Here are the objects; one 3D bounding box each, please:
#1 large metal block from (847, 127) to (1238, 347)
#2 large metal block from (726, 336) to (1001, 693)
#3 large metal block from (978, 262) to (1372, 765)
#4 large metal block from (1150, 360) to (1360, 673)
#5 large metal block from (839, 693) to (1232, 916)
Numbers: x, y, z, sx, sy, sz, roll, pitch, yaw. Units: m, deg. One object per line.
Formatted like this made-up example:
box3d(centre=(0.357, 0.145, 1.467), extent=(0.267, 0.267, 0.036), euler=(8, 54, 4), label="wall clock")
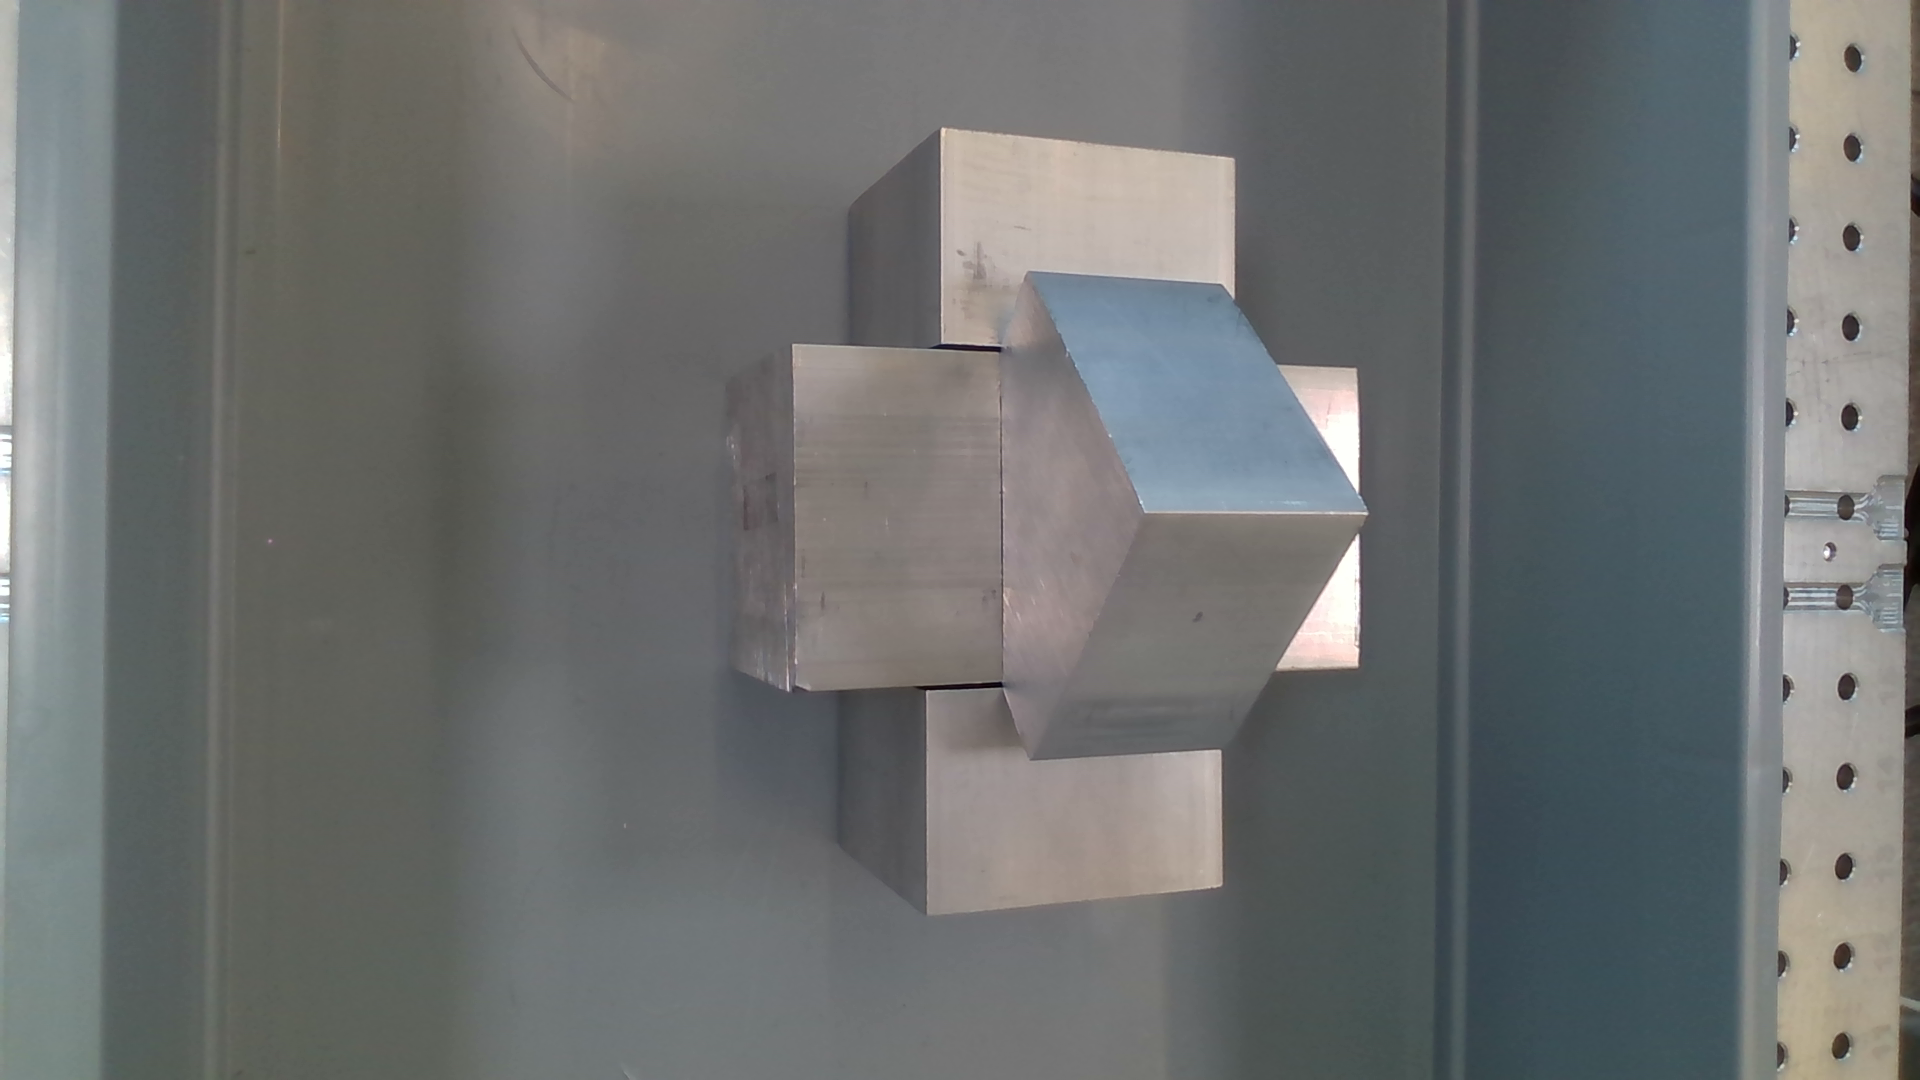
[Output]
box3d(centre=(0.019, -0.071, 0.371), extent=(0.080, 0.080, 0.050), euler=(0, 90, -20), label="large metal block")
box3d(centre=(-0.028, -0.006, 0.354), extent=(0.050, 0.080, 0.080), euler=(0, 90, -20), label="large metal block")
box3d(centre=(0.039, -0.006, 0.318), extent=(0.050, 0.080, 0.080), euler=(0, 135, -20), label="large metal block")
box3d(centre=(0.067, -0.006, 0.389), extent=(0.050, 0.080, 0.080), euler=(0, 90, -20), label="large metal block")
box3d(centre=(0.017, 0.061, 0.368), extent=(0.080, 0.080, 0.050), euler=(0, 90, -20), label="large metal block")
